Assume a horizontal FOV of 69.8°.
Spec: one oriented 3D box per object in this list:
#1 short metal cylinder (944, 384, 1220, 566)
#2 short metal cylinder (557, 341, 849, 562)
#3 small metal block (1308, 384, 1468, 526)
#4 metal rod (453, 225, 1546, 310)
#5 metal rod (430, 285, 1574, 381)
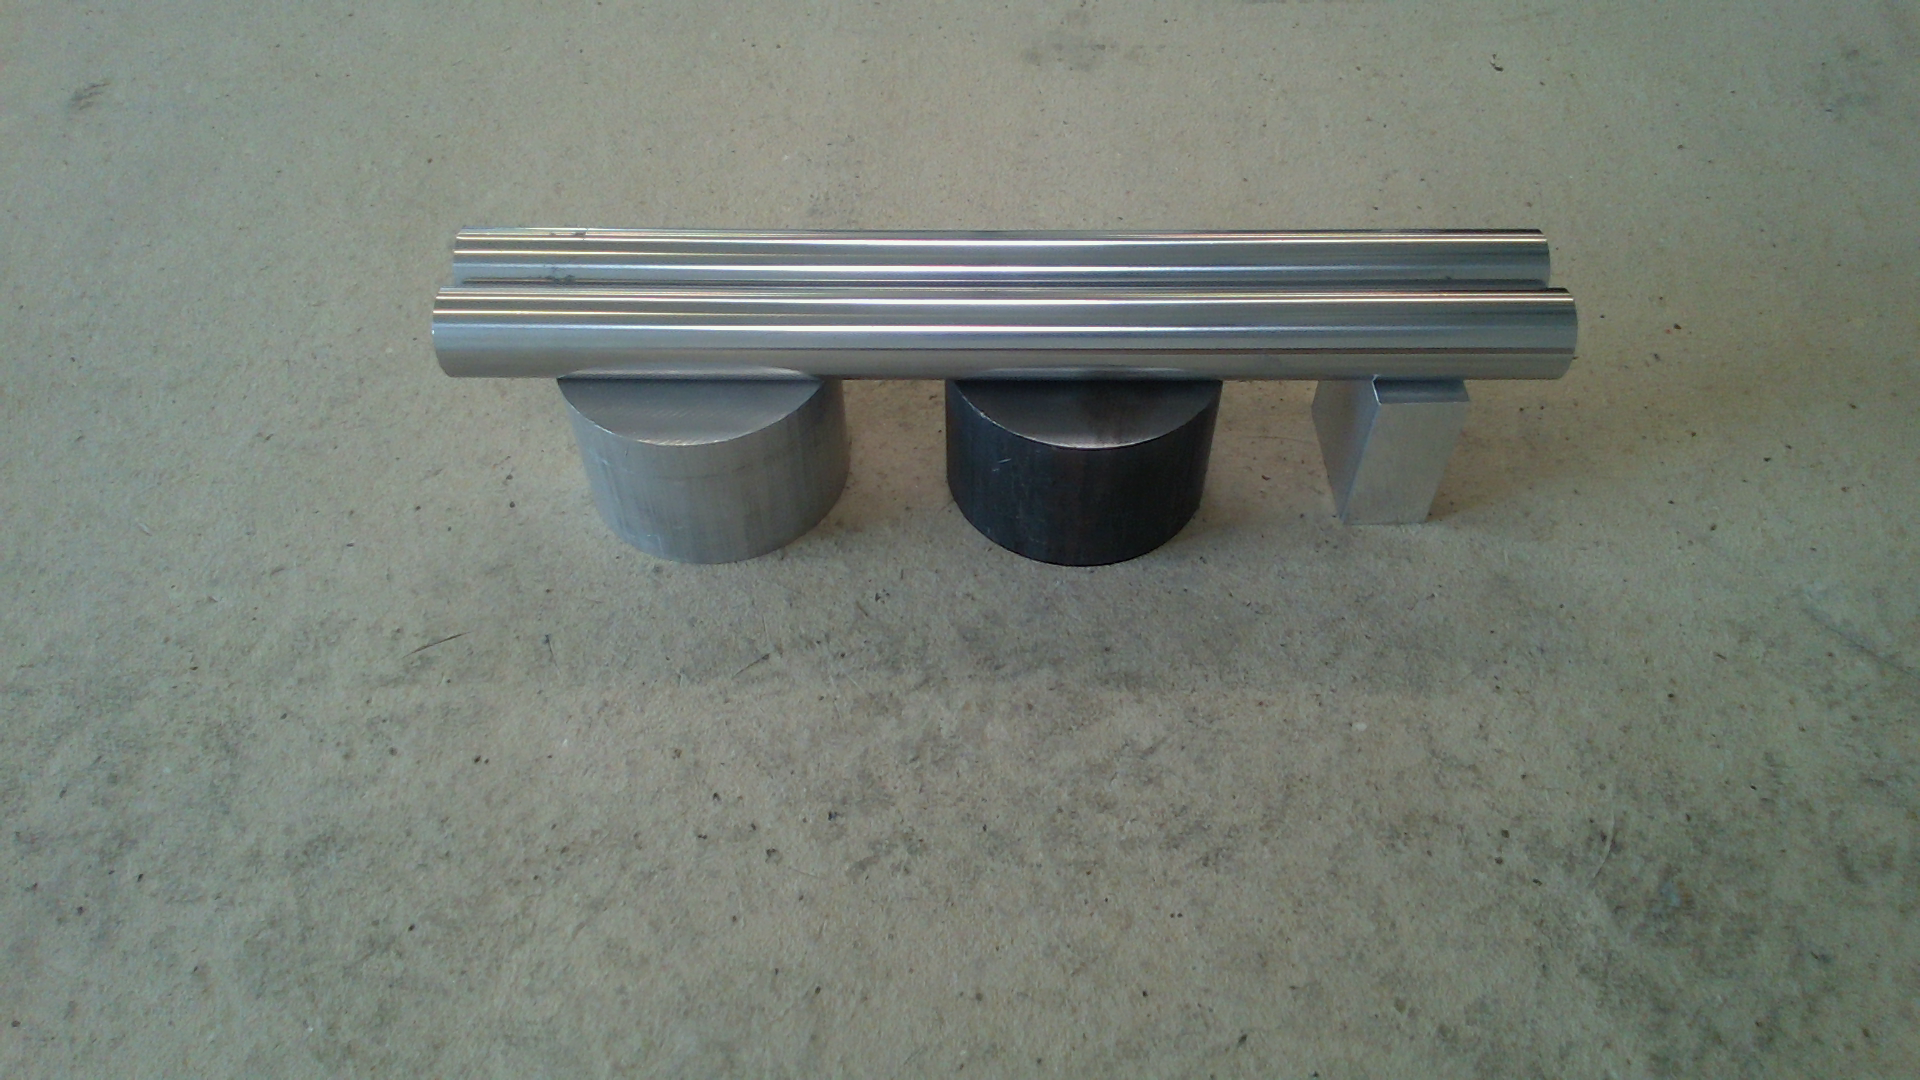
[{"bbox_3d":[0.035,-0.039,0.409,0.080,0.050,0.080,0,50,0],"label":"short metal cylinder"},{"bbox_3d":[-0.075,-0.040,0.408,0.080,0.050,0.080,0,50,0],"label":"short metal cylinder"},{"bbox_3d":[0.126,-0.040,0.410,0.025,0.050,0.050,-1,49,-1],"label":"small metal block"},{"bbox_3d":[0.011,-0.076,0.390,0.300,0.025,0.025,0,50,0],"label":"metal rod"},{"bbox_3d":[0.011,-0.056,0.373,0.300,0.025,0.025,0,50,0],"label":"metal rod"}]
